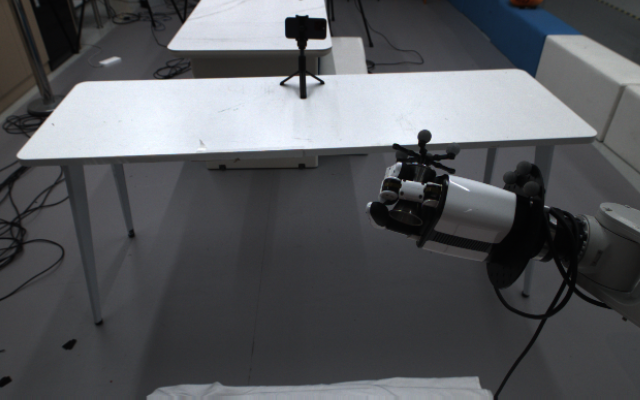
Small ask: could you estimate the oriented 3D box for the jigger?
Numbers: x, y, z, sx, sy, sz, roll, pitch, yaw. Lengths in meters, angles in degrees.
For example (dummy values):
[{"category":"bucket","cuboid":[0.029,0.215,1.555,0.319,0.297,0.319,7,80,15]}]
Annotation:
[{"category":"jigger","cuboid":[0.119,-0.009,0.606,0.043,0.043,0.071,15,70,18]}]
